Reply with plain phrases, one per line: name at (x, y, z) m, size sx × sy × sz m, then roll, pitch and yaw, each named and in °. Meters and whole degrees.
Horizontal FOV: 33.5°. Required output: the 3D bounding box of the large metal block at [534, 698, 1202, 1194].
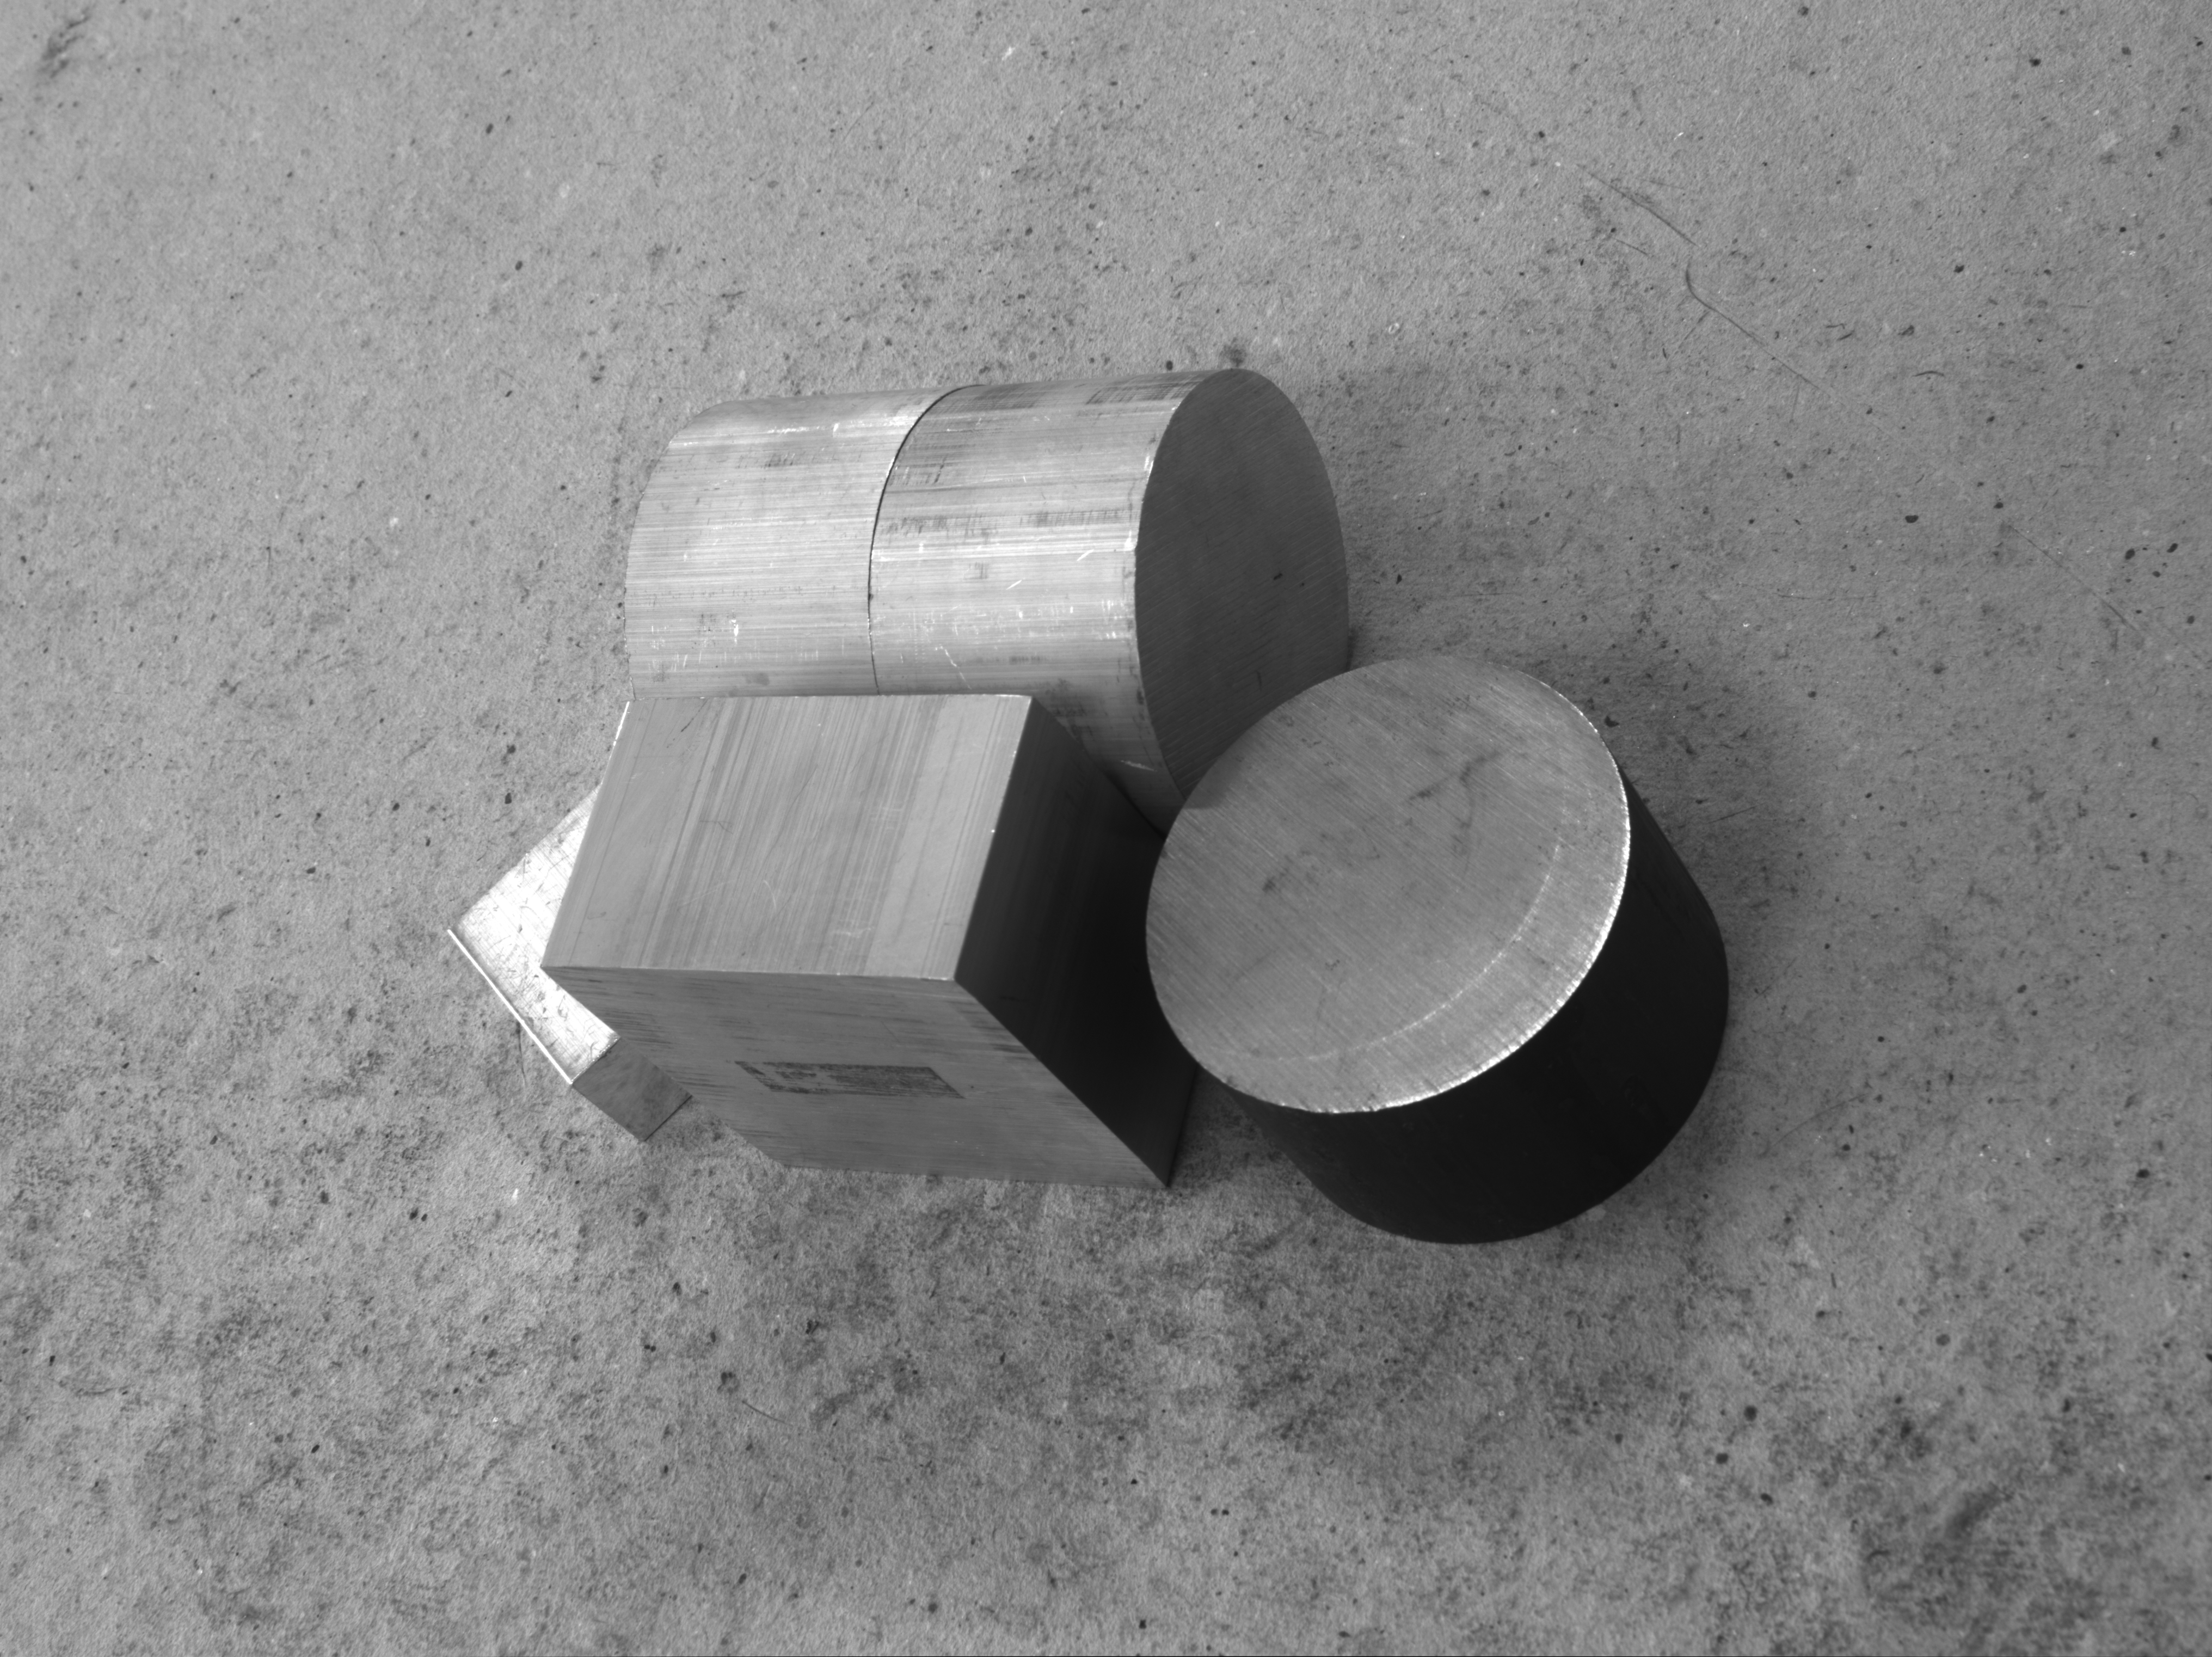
large metal block at (-0.035, 0.020, 0.618) m, size 0.080 × 0.080 × 0.050 m, roll 1°, pitch 62°, yaw 29°

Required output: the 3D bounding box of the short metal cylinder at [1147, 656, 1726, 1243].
short metal cylinder at (0.053, 0.020, 0.588) m, size 0.080 × 0.050 × 0.080 m, roll -14°, pitch 56°, yaw 21°

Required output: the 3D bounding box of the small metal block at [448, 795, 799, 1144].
small metal block at (-0.086, 0.021, 0.680) m, size 0.050 × 0.025 × 0.050 m, roll -44°, pitch 51°, yaw -2°

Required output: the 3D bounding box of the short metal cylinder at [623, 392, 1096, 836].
short metal cylinder at (-0.042, -0.037, 0.657) m, size 0.050 × 0.080 × 0.080 m, roll 1°, pitch 62°, yaw 29°

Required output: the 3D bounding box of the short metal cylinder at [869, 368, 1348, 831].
short metal cylinder at (0.002, -0.038, 0.633) m, size 0.050 × 0.080 × 0.080 m, roll 1°, pitch 62°, yaw 29°
